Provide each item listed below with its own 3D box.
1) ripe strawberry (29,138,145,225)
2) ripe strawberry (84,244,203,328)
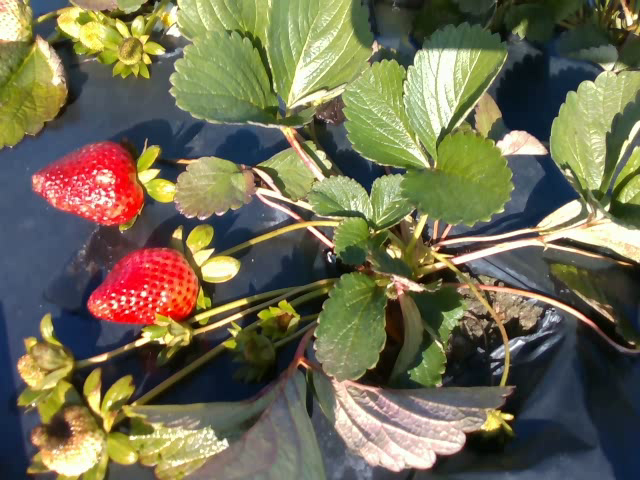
[{"bbox_3d":[-0.109,-0.028,0.288,0.050,0.050,0.044,4,-32,-32],"label":"ripe strawberry"},{"bbox_3d":[-0.072,0.021,0.248,0.042,0.039,0.049,1,12,40],"label":"ripe strawberry"}]
